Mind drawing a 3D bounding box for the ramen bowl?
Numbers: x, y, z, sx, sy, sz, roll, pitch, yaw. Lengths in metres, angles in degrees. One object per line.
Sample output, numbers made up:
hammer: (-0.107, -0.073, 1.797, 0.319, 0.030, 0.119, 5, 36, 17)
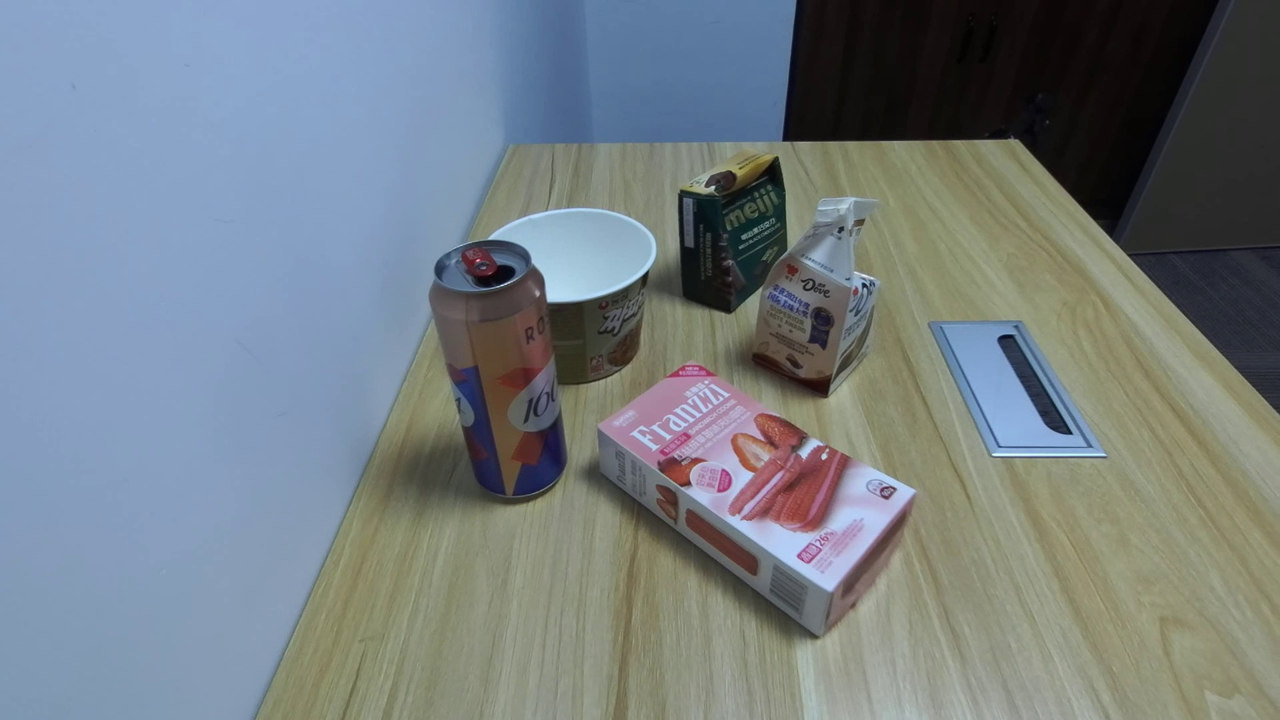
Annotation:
ramen bowl: (-0.056, -0.051, 0.582, 0.140, 0.095, 0.140, 0, 40, 0)

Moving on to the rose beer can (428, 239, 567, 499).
rose beer can: (-0.086, 0.012, 0.449, 0.068, 0.169, 0.068, 0, 38, 1)

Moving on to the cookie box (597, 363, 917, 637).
cookie box: (0.072, 0.076, 0.456, 0.186, 0.049, 0.105, 32, 50, 33)

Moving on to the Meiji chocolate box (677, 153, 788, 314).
Meiji chocolate box: (0.088, -0.121, 0.646, 0.051, 0.117, 0.117, 17, 41, 35)

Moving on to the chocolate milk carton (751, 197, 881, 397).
chocolate milk carton: (0.140, -0.059, 0.534, 0.073, 0.156, 0.076, 27, 46, 29)
